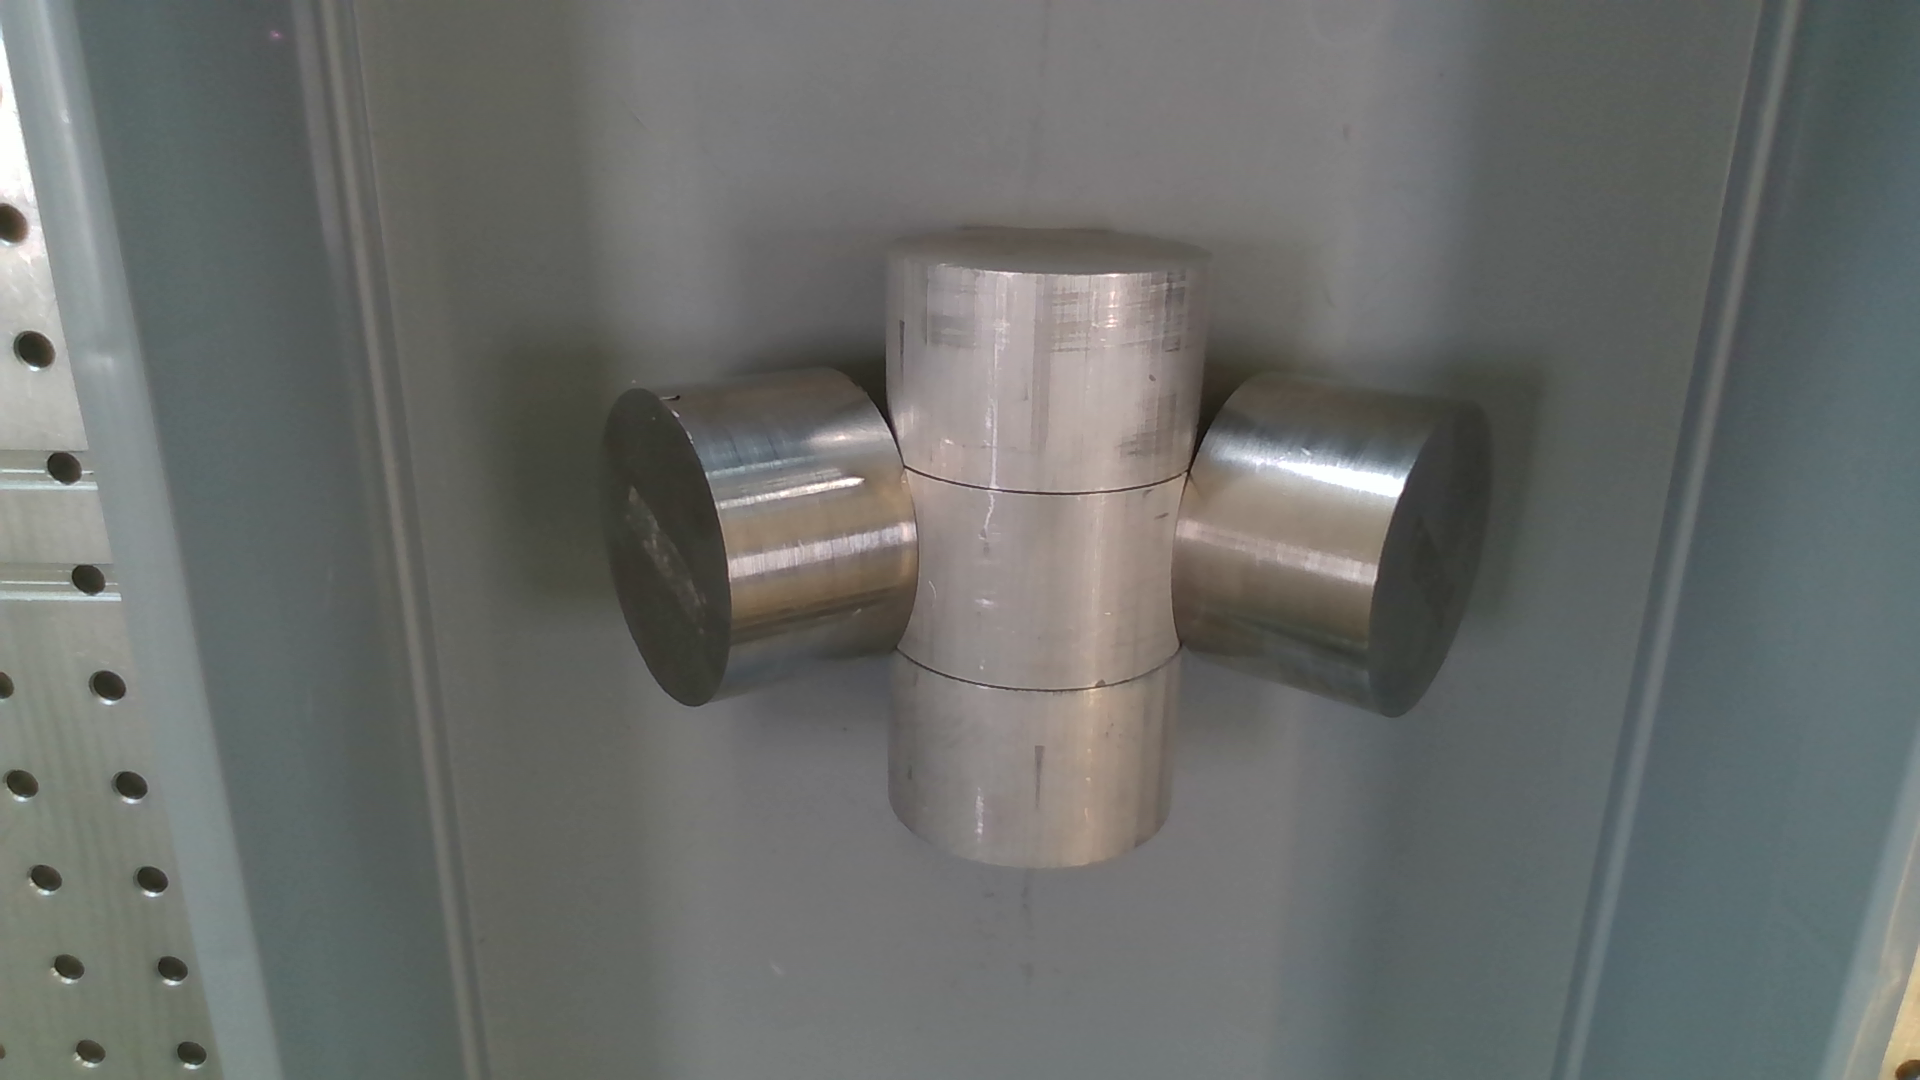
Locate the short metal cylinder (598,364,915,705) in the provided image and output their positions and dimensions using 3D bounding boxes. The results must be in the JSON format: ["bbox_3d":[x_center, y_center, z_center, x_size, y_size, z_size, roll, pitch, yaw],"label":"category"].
[{"bbox_3d":[-0.054,-0.003,0.354,0.050,0.080,0.080,-13,114,-32],"label":"short metal cylinder"}]

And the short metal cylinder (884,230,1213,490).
[{"bbox_3d":[0.021,-0.048,0.345,0.080,0.080,0.050,1,110,0],"label":"short metal cylinder"}]

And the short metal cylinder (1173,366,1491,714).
[{"bbox_3d":[0.097,-0.001,0.355,0.050,0.080,0.080,16,115,35],"label":"short metal cylinder"}]

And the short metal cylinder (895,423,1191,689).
[{"bbox_3d":[0.020,-0.001,0.363,0.080,0.080,0.050,1,110,0],"label":"short metal cylinder"}]

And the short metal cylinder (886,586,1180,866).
[{"bbox_3d":[0.020,0.046,0.380,0.080,0.080,0.050,1,110,0],"label":"short metal cylinder"}]
